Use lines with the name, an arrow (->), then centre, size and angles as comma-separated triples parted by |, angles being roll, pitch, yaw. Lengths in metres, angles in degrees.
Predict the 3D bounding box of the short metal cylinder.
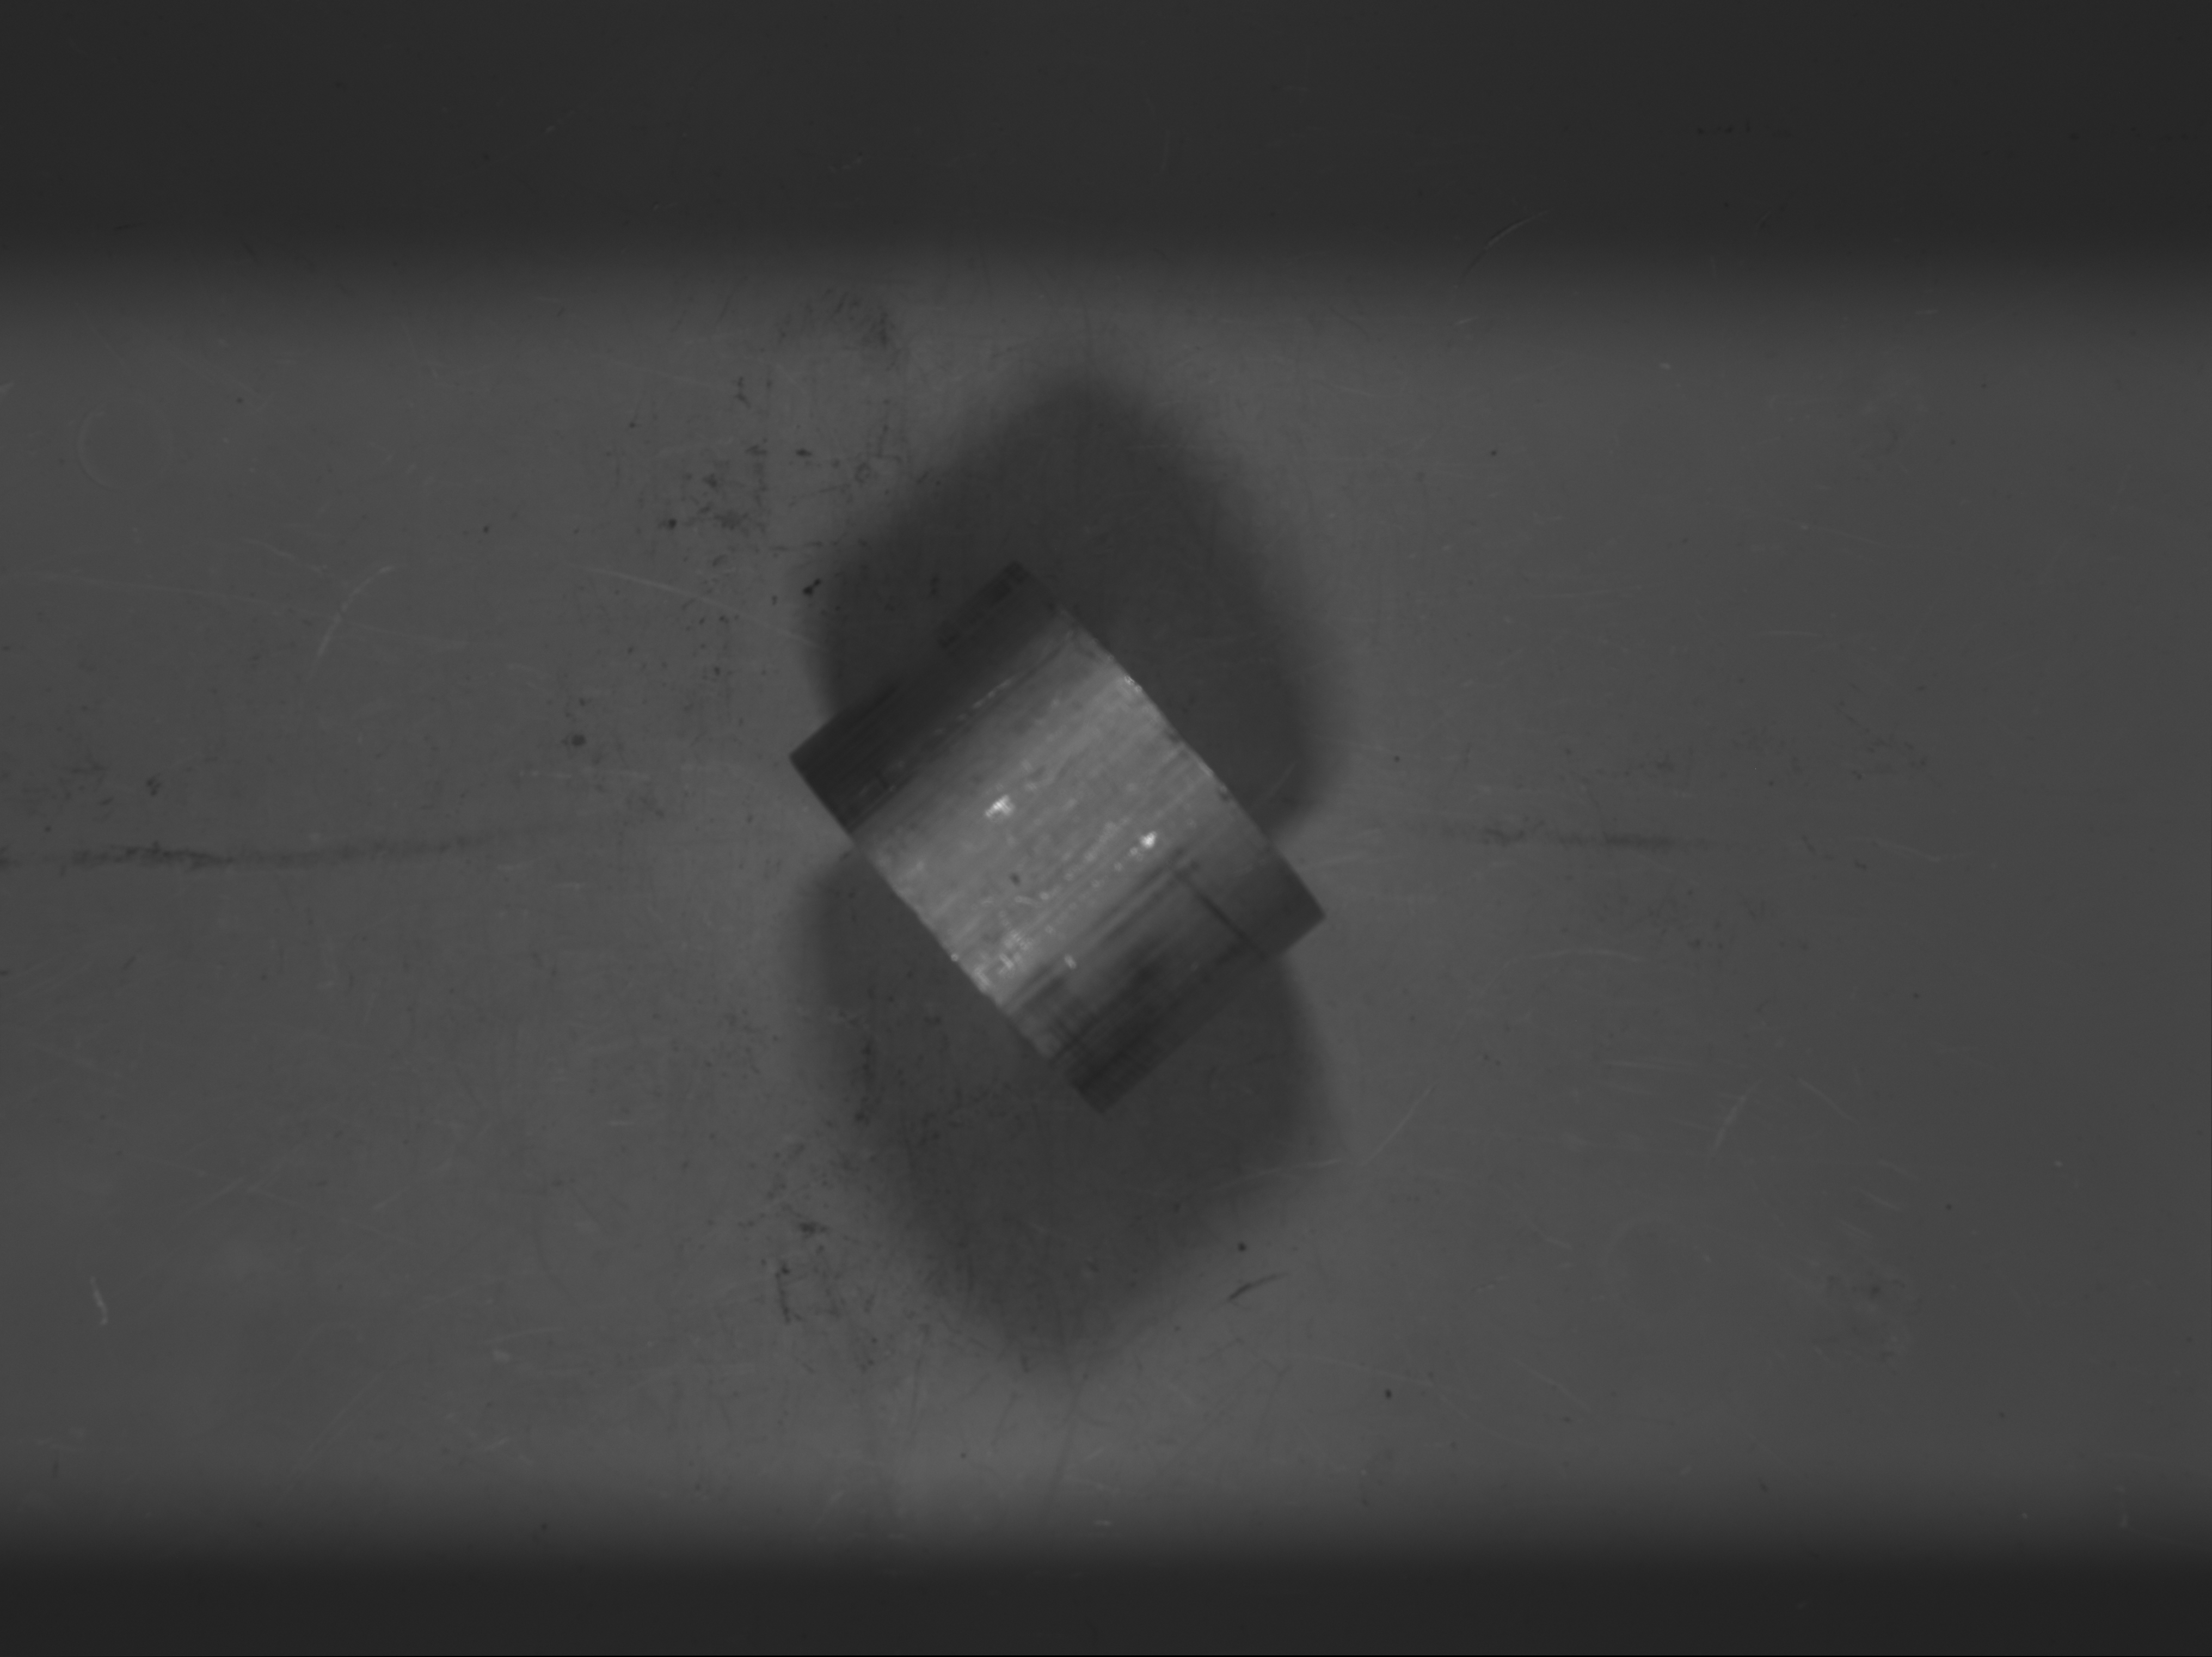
short metal cylinder -> -0.006, 0.001, 0.615 | 0.050, 0.080, 0.080 | -41, 90, 0
